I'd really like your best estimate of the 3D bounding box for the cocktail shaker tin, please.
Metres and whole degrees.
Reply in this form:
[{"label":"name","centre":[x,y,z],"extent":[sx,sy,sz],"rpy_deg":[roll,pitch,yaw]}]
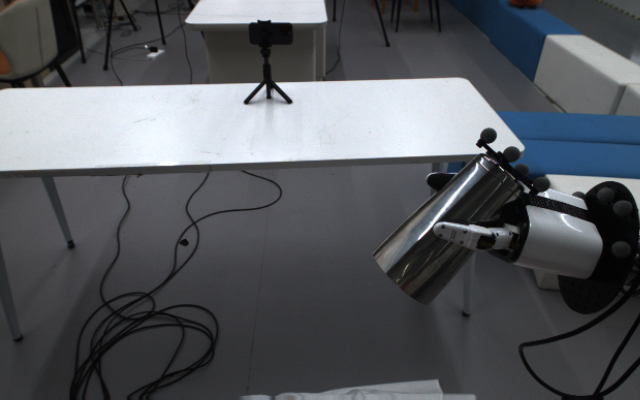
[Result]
[{"label":"cocktail shaker tin","centre":[0.154,0.026,0.570],"extent":[0.093,0.170,0.093],"rpy_deg":[41,12,-11]}]
